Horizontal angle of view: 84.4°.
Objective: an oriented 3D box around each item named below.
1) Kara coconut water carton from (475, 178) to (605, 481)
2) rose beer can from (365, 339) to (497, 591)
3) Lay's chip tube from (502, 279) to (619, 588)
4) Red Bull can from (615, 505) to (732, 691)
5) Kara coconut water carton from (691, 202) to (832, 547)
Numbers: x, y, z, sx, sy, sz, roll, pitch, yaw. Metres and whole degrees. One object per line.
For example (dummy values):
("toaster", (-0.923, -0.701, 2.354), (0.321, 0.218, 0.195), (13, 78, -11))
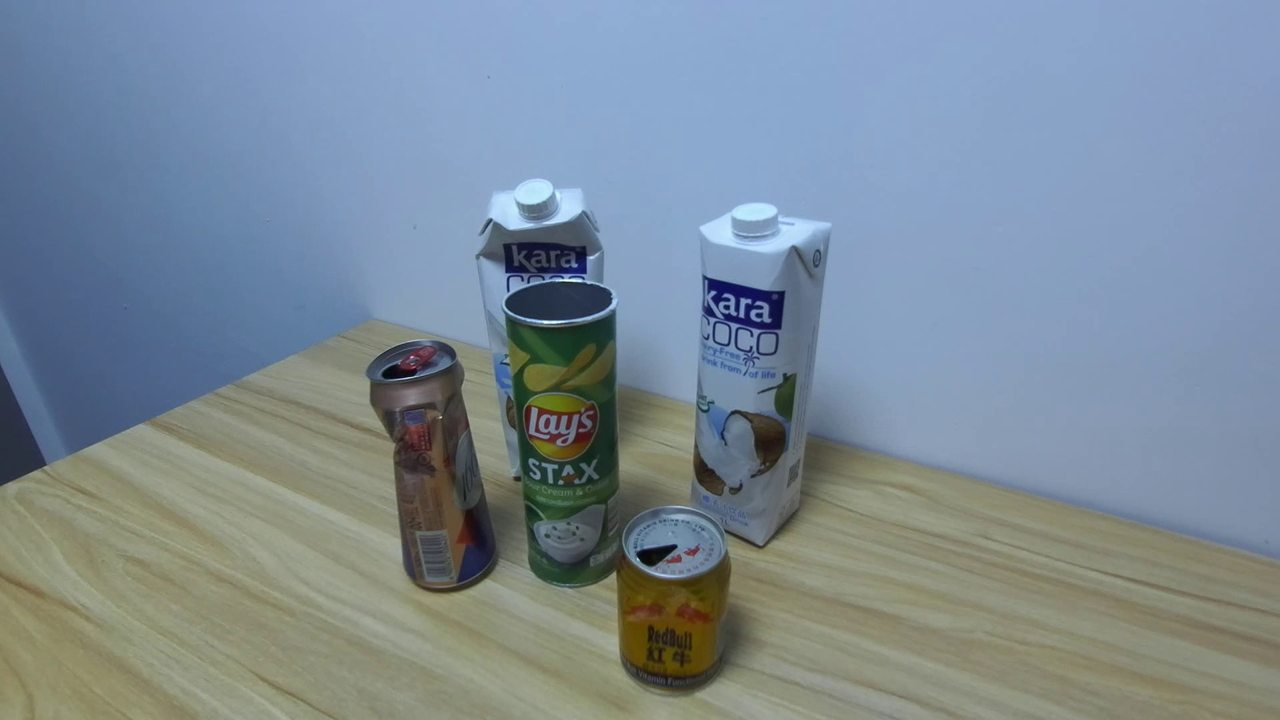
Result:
("Kara coconut water carton", (-0.072, -0.025, 0.577), (0.100, 0.244, 0.071), (-6, 26, -4))
("rose beer can", (-0.140, 0.075, 0.478), (0.065, 0.167, 0.076), (1, 27, 9))
("Lay's chip tube", (-0.047, 0.052, 0.473), (0.071, 0.202, 0.071), (0, 28, 0))
("Red Bull can", (0.019, 0.141, 0.418), (0.069, 0.092, 0.069), (-1, 27, 1))
("Kara coconut water carton", (0.082, 0.010, 0.503), (0.076, 0.245, 0.075), (18, 31, 33))
